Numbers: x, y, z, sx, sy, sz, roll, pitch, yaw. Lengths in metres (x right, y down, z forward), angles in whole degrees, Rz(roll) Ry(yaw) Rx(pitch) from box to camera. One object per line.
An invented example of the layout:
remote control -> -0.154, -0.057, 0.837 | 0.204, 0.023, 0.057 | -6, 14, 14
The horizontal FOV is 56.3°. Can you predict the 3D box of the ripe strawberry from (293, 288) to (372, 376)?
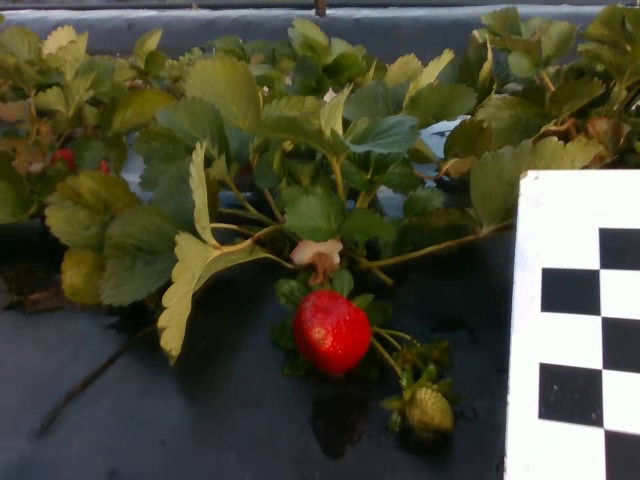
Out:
ripe strawberry -> 0.005, 0.049, 0.297 | 0.043, 0.052, 0.057 | -23, -11, 9
